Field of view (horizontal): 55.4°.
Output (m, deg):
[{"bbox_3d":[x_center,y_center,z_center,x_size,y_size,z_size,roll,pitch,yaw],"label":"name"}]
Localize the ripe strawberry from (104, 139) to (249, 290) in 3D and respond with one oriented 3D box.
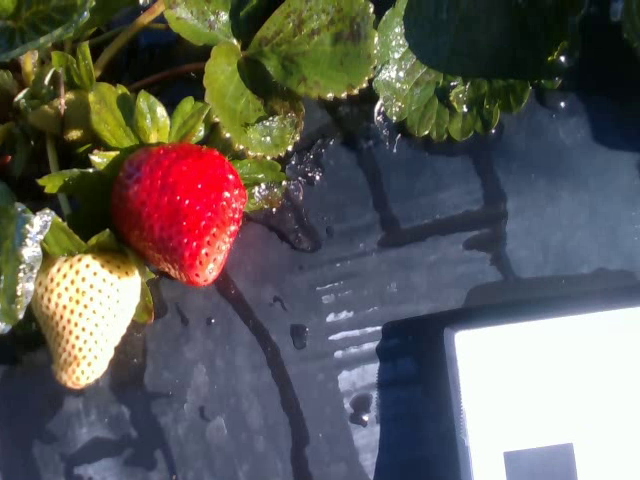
[{"bbox_3d":[-0.040,-0.002,0.191,0.043,0.061,0.046,-22,-41,1],"label":"ripe strawberry"}]
